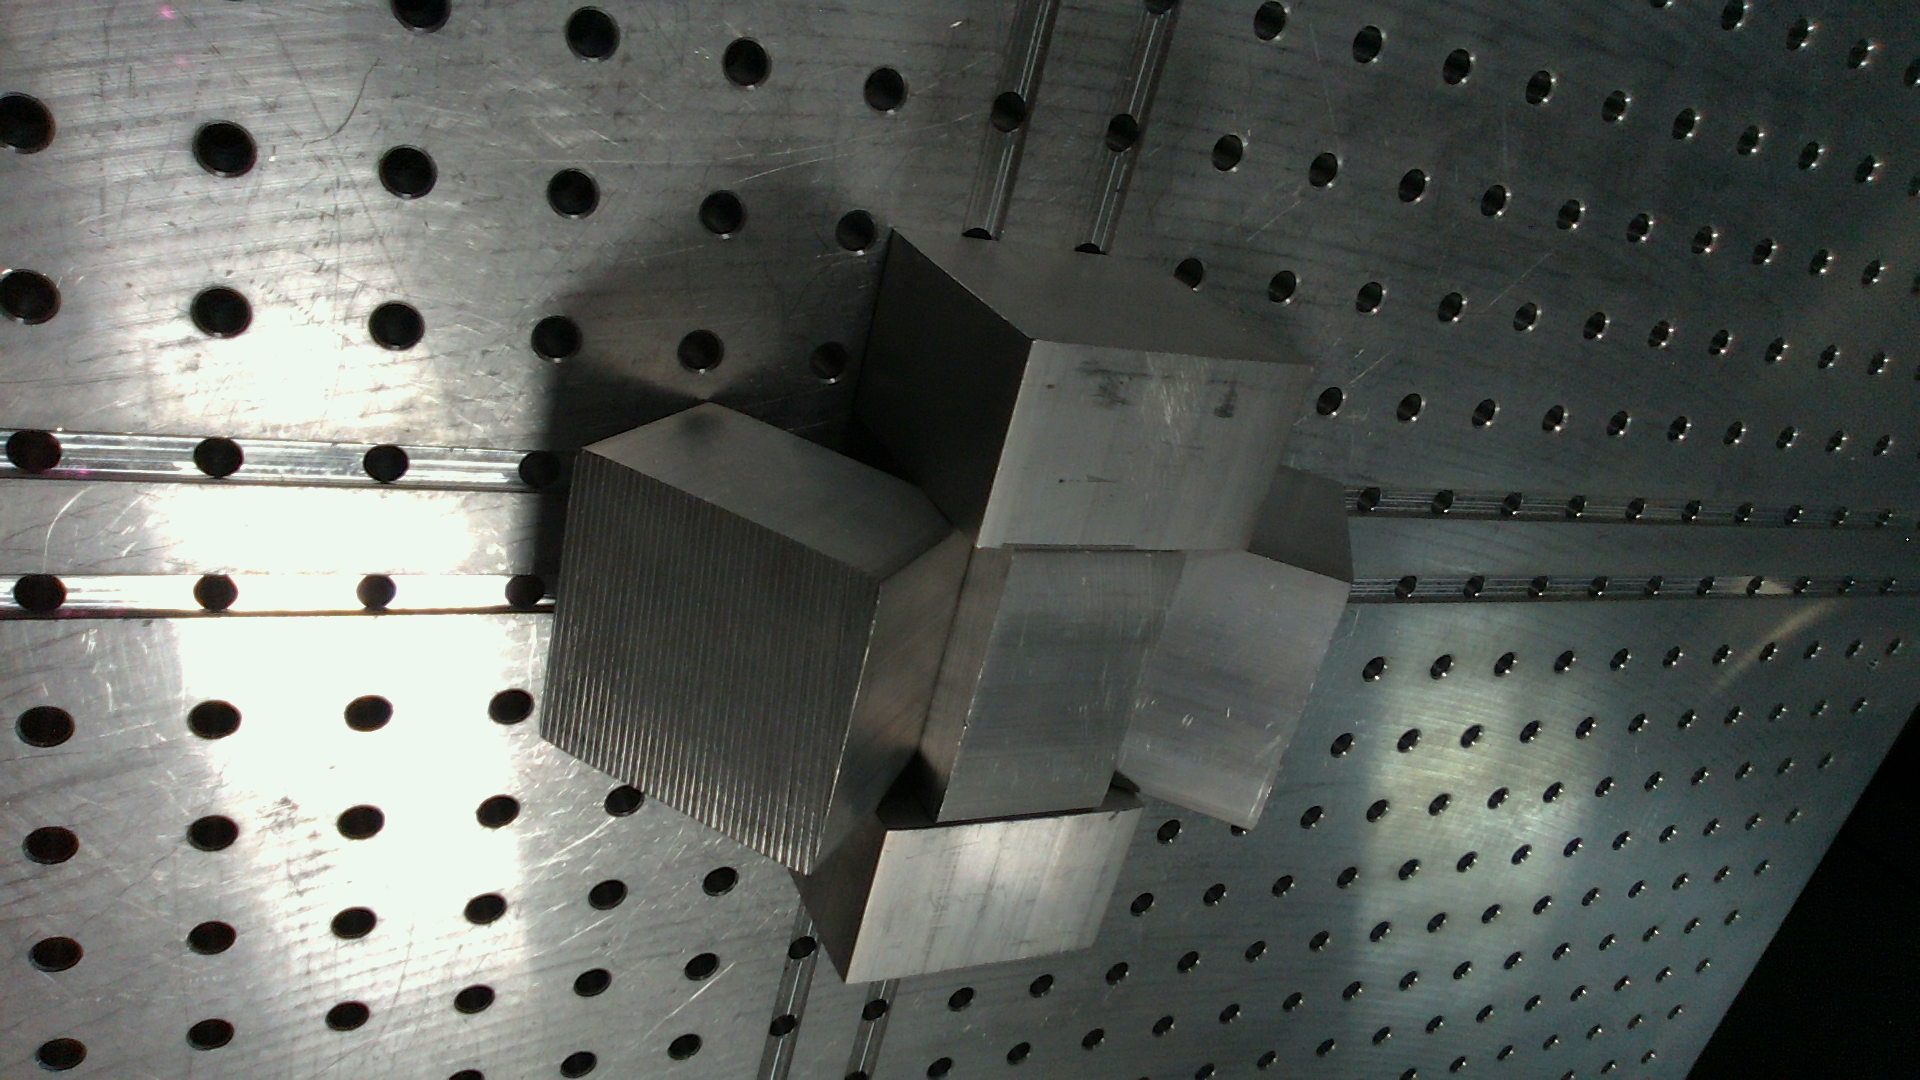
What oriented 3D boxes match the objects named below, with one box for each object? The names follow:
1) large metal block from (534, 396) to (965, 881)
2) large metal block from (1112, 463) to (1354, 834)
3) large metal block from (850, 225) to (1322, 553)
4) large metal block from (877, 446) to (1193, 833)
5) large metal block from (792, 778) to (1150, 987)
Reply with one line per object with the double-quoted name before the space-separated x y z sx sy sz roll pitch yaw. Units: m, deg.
"large metal block" -0.051 0.021 0.334 0.050 0.080 0.080 -36 145 -59
"large metal block" 0.074 0.024 0.400 0.050 0.080 0.080 17 114 5
"large metal block" 0.028 -0.038 0.347 0.080 0.080 0.050 1 118 -29
"large metal block" 0.009 0.020 0.372 0.050 0.080 0.080 1 118 -29
"large metal block" -0.006 0.076 0.399 0.080 0.080 0.050 1 118 -29
